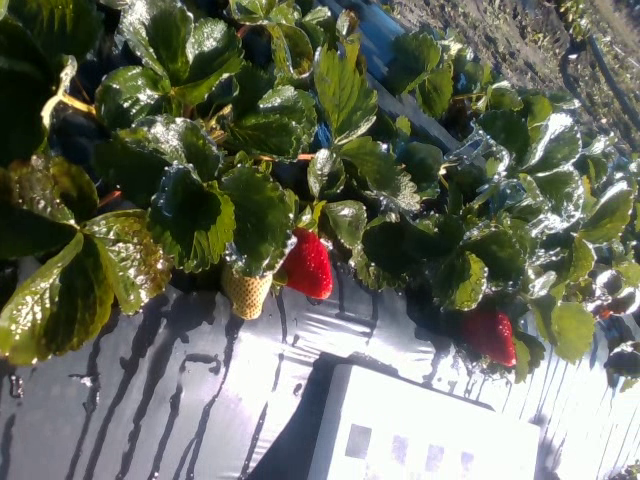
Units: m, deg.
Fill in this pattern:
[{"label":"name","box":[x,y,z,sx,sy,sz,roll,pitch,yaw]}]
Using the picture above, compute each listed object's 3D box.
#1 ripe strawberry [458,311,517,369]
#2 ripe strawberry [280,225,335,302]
[{"label":"ripe strawberry","box":[0.165,0.093,0.525,0.048,0.061,0.044,18,-47,-37]},{"label":"ripe strawberry","box":[-0.010,0.024,0.394,0.042,0.046,0.061,9,39,-39]}]
